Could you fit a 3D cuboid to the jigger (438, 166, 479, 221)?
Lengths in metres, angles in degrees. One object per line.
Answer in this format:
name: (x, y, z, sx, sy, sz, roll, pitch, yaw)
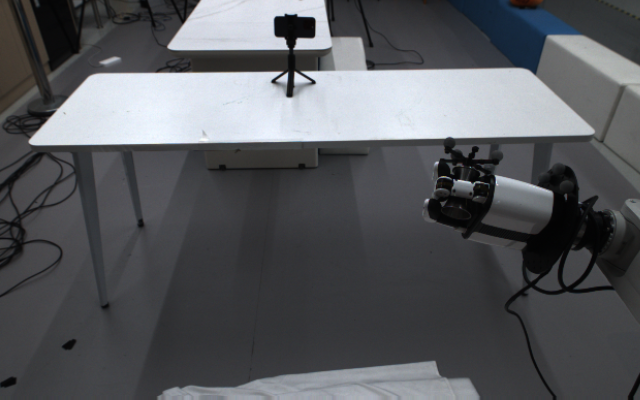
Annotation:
jigger: (0.206, -0.012, 0.702, 0.043, 0.043, 0.071, 13, 71, 15)
